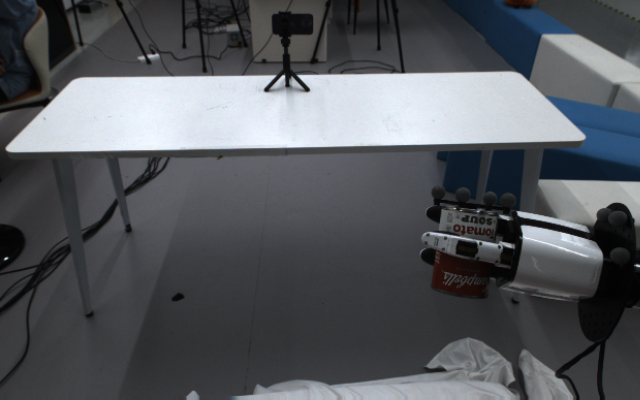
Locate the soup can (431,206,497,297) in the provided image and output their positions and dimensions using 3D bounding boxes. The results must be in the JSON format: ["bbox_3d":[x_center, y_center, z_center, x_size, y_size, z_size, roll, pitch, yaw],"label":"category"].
[{"bbox_3d":[0.176,0.060,0.583,0.067,0.101,0.067,7,3,0],"label":"soup can"}]
